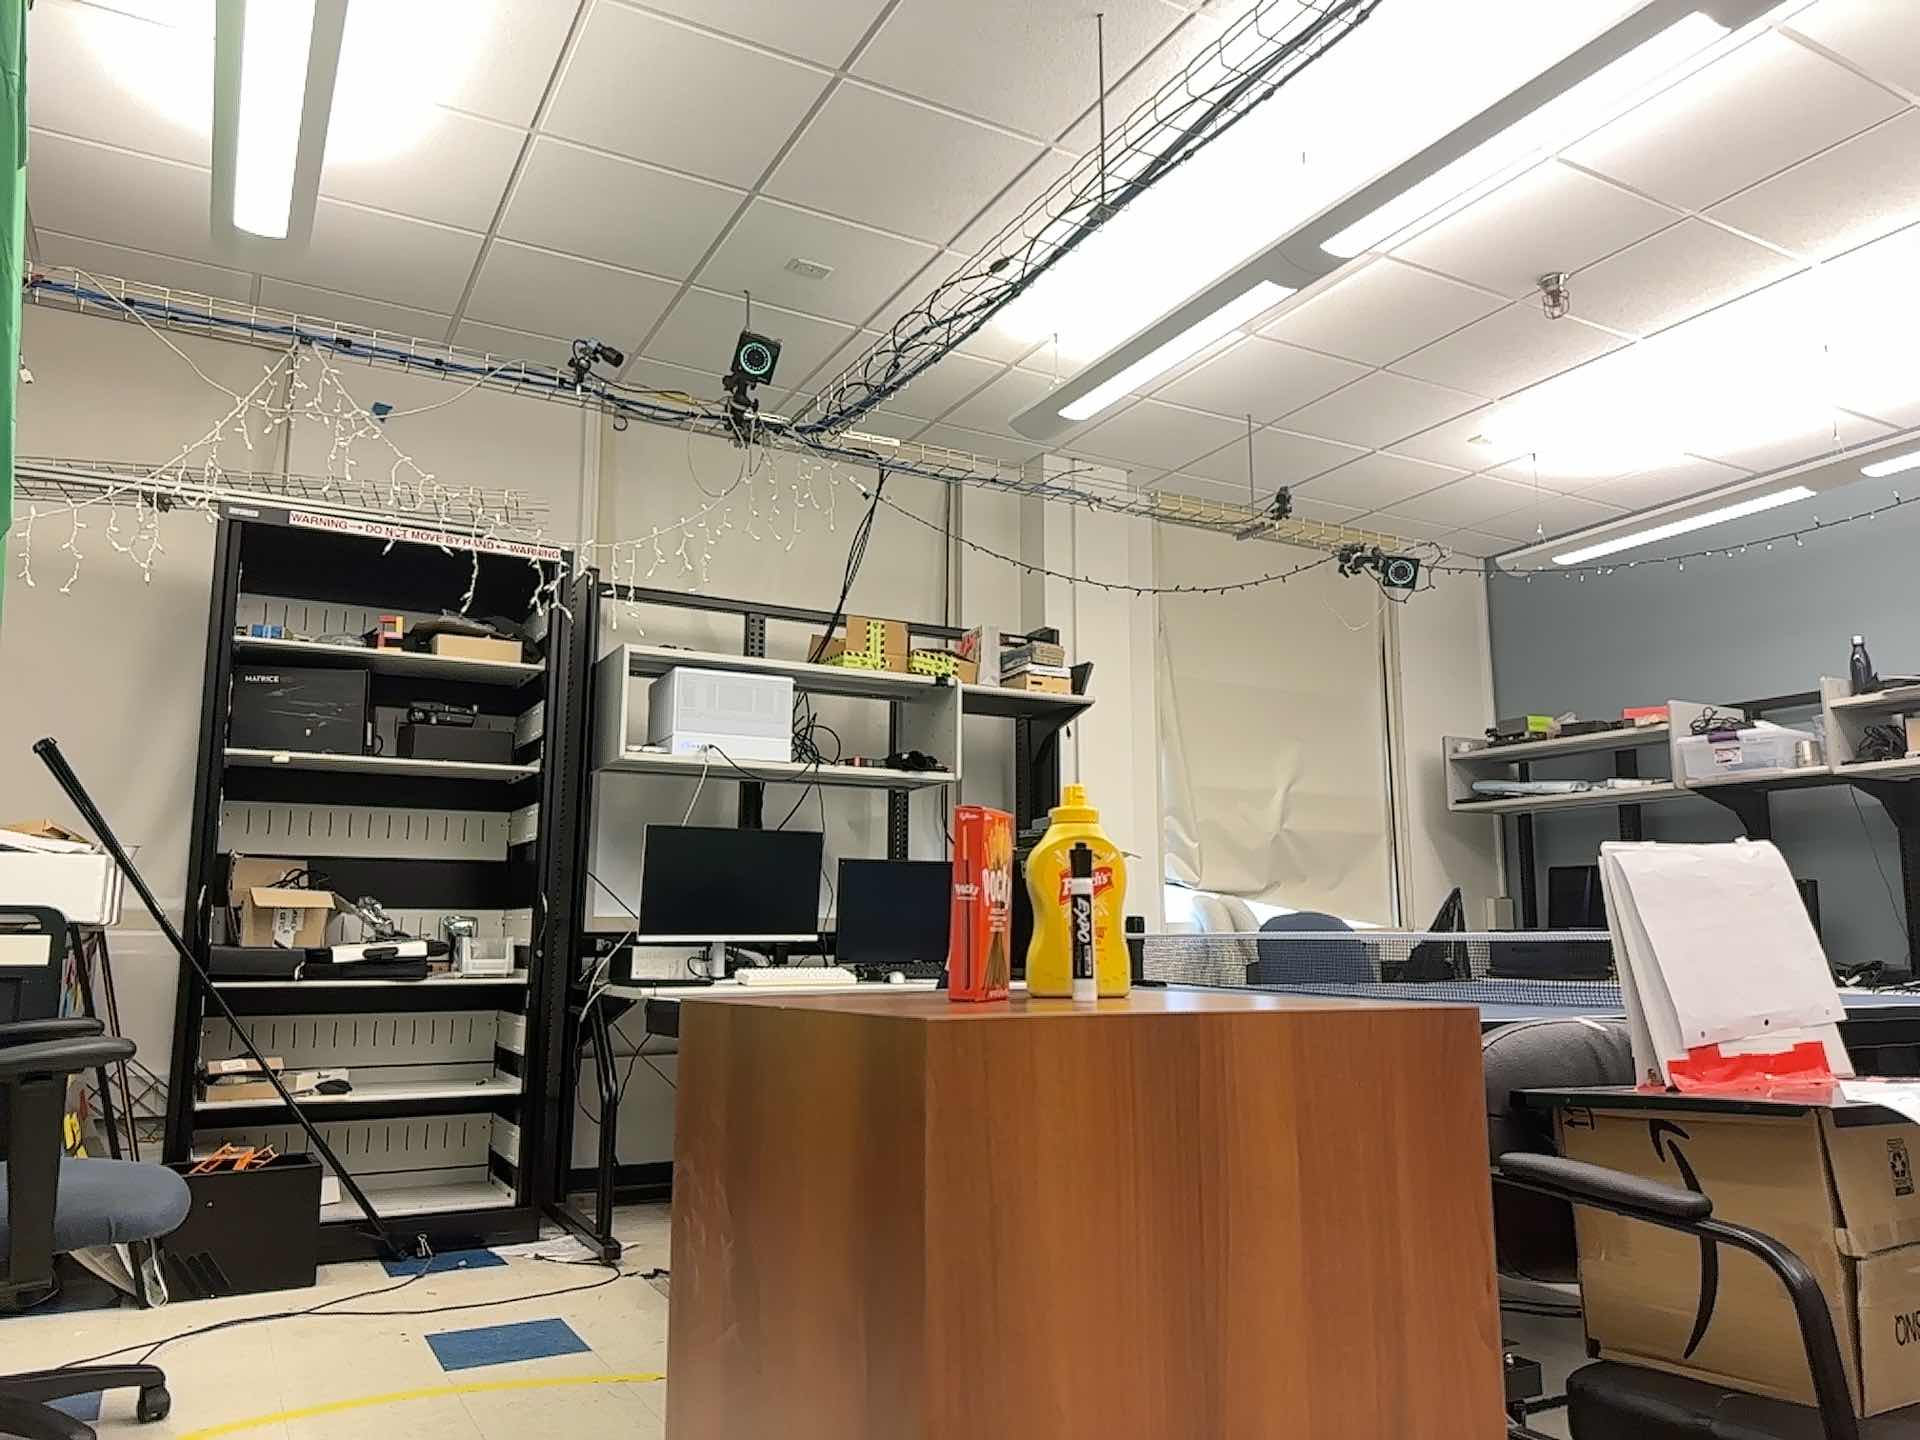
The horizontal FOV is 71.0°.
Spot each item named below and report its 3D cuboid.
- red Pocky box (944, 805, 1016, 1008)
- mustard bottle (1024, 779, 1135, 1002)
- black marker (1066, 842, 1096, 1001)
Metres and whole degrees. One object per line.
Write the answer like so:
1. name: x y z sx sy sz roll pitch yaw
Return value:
1. red Pocky box: 0.016 0.146 1.059 0.028 0.155 0.083 -3 -8 25
2. mustard bottle: 0.099 0.142 1.136 0.092 0.184 0.054 1 -8 -9
3. black marker: 0.093 0.155 1.040 0.020 0.121 0.020 -1 -12 0
